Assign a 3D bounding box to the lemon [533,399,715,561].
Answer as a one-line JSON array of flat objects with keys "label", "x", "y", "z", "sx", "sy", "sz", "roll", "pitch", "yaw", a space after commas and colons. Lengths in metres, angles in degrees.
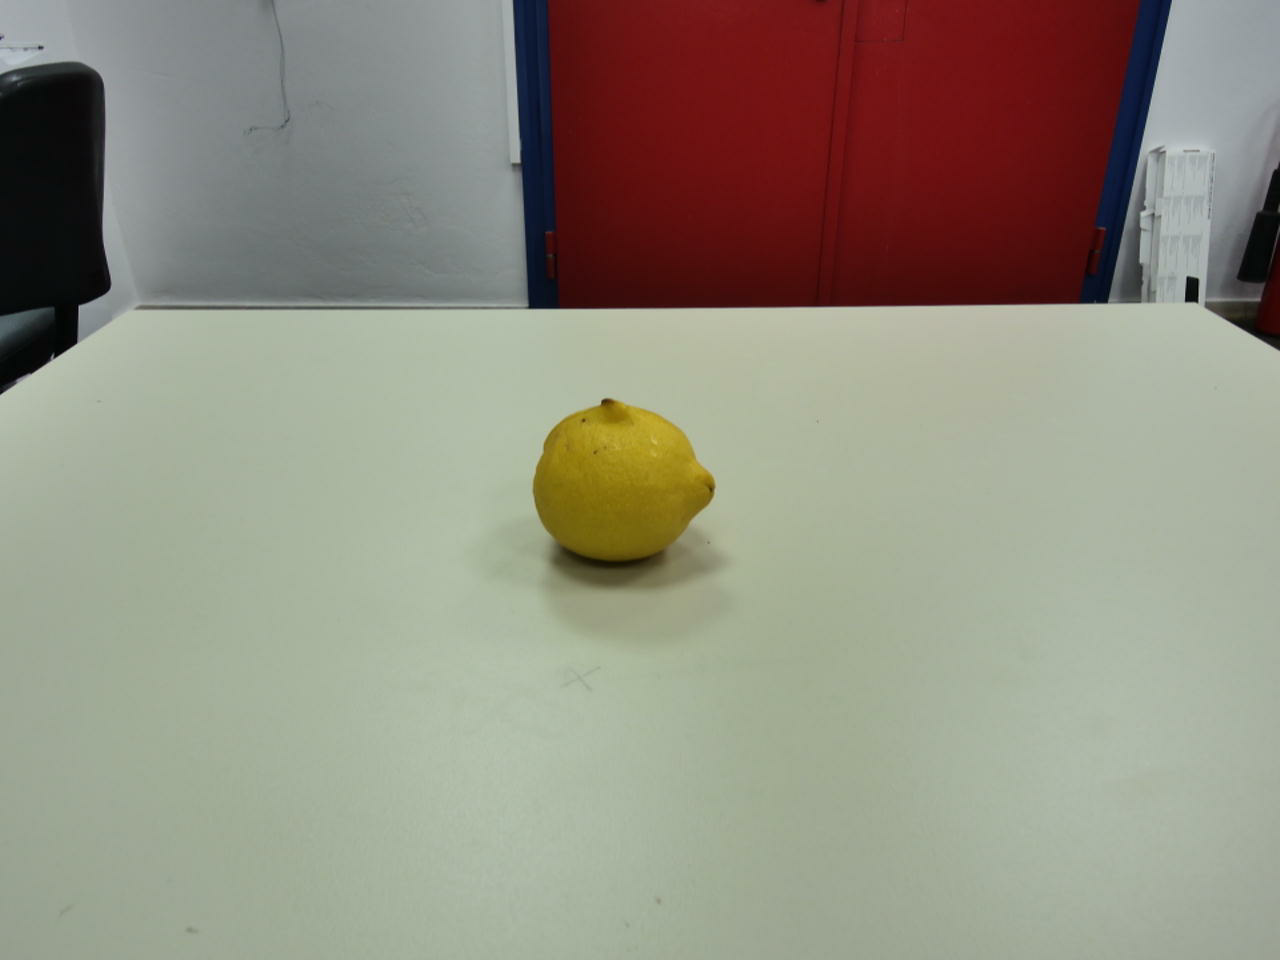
[{"label": "lemon", "x": -0.010, "y": -0.002, "z": 0.428, "sx": 0.070, "sy": 0.071, "sz": 0.071, "roll": -17, "pitch": 29, "yaw": -31}]
